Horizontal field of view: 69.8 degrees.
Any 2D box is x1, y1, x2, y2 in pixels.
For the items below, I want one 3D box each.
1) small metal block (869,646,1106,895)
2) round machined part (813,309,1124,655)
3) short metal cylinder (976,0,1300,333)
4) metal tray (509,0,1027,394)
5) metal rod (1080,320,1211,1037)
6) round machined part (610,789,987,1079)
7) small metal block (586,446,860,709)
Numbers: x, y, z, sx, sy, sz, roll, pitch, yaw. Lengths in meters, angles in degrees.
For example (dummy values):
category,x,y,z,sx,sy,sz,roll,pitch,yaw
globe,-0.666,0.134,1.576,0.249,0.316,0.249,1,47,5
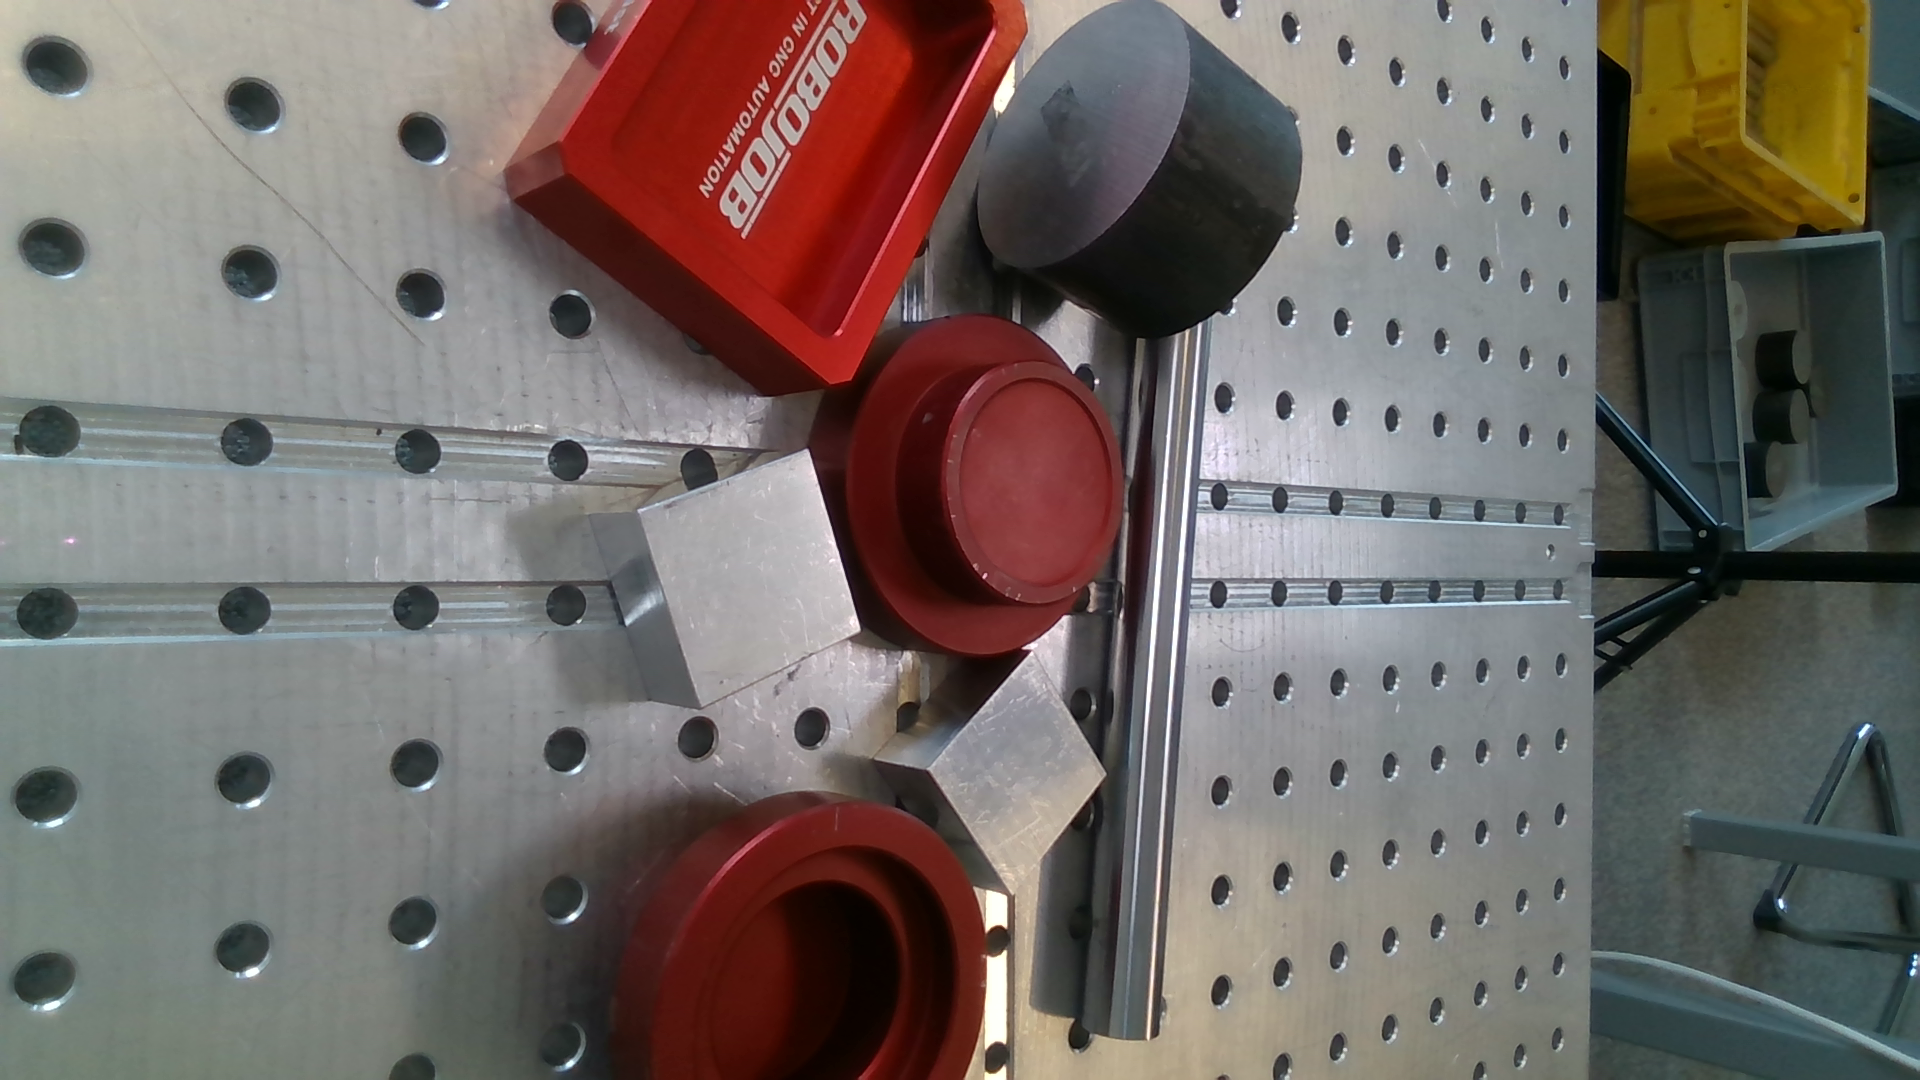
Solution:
category,x,y,z,sx,sy,sz,roll,pitch,yaw
small metal block,0.009,0.066,0.403,0.050,0.025,0.050,-46,118,-30
round machined part,0.009,-0.016,0.390,0.098,0.042,0.098,0,90,-43
short metal cylinder,0.050,-0.107,0.401,0.050,0.080,0.080,22,76,-38
metal tray,-0.043,-0.115,0.354,0.090,0.030,0.130,38,67,-33
metal rod,0.063,0.005,0.447,0.025,0.025,0.300,8,85,-40
round machined part,-0.043,0.112,0.347,0.098,0.042,0.098,0,90,-40
small metal block,-0.058,0.008,0.345,0.050,0.025,0.050,-25,106,-37
